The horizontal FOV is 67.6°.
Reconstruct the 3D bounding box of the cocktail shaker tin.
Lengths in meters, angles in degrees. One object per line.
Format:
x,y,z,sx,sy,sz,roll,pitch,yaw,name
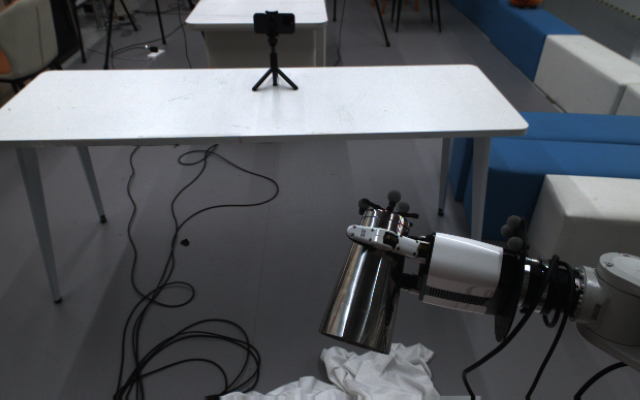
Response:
0.067,0.100,0.632,0.093,0.093,0.170,13,71,16,cocktail shaker tin
